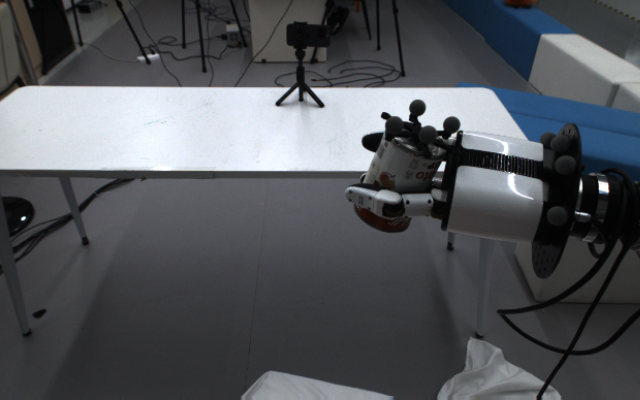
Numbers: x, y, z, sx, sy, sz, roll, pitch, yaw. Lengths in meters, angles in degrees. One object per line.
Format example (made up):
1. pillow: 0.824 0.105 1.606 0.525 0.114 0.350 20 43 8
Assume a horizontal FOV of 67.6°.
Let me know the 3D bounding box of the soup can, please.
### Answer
1. soup can: 0.086 -0.024 0.521 0.067 0.101 0.067 14 35 -10
